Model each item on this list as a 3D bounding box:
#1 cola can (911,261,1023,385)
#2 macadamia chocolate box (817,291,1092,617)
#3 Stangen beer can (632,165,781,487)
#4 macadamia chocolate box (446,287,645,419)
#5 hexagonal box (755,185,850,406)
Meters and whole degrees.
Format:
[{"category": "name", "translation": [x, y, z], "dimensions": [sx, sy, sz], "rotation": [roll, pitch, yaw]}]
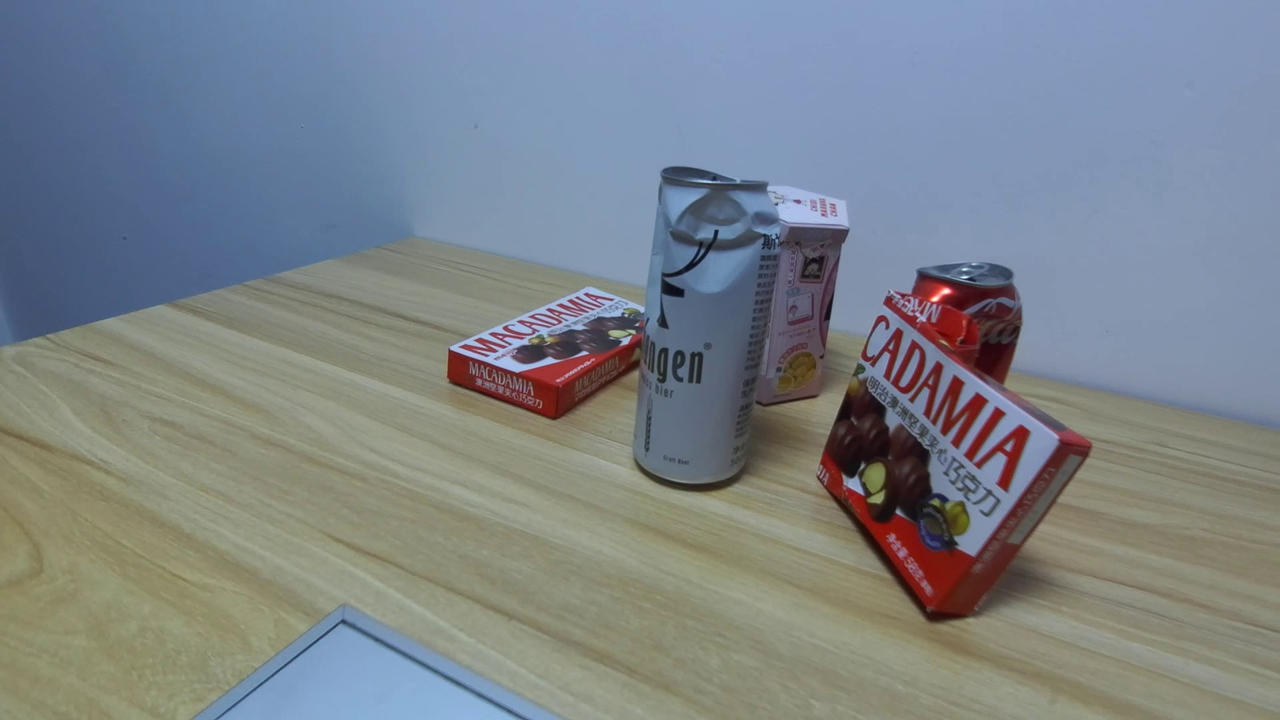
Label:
[{"category": "cola can", "translation": [0.196, -0.005, 0.445], "dimensions": [0.069, 0.112, 0.065], "rotation": [6, 26, 5]}, {"category": "macadamia chocolate box", "translation": [0.141, 0.040, 0.336], "dimensions": [0.056, 0.112, 0.126], "rotation": [1, 24, -9]}, {"category": "Stangen beer can", "translation": [0.033, -0.015, 0.379], "dimensions": [0.066, 0.166, 0.066], "rotation": [2, 23, -4]}, {"category": "macadamia chocolate box", "translation": [-0.044, -0.014, 0.536], "dimensions": [0.102, 0.027, 0.187], "rotation": [18, 29, 25]}, {"category": "hexagonal box", "translation": [0.092, -0.047, 0.493], "dimensions": [0.085, 0.135, 0.092], "rotation": [7, 25, 7]}]
